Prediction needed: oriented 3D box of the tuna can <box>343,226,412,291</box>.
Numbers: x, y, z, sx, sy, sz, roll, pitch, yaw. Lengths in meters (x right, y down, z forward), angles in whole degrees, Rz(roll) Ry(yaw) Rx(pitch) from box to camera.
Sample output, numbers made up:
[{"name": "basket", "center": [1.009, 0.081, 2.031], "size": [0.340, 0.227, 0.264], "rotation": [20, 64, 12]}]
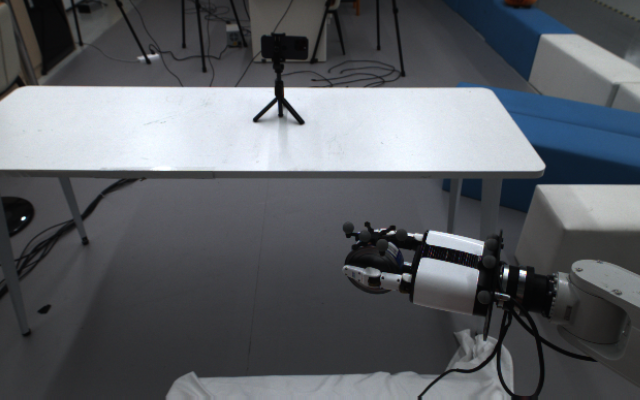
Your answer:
[{"name": "tuna can", "center": [0.084, 0.094, 0.731], "size": [0.085, 0.085, 0.034], "rotation": [13, 29, 16]}]
